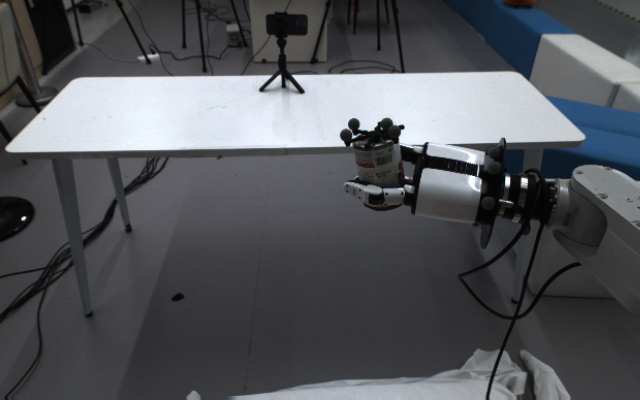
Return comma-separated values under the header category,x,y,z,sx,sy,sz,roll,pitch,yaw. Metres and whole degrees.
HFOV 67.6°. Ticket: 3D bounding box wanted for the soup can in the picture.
category,x,y,z,sx,sy,sz,roll,pitch,yaw
soup can,0.090,-0.044,0.706,0.067,0.101,0.067,-11,27,6
